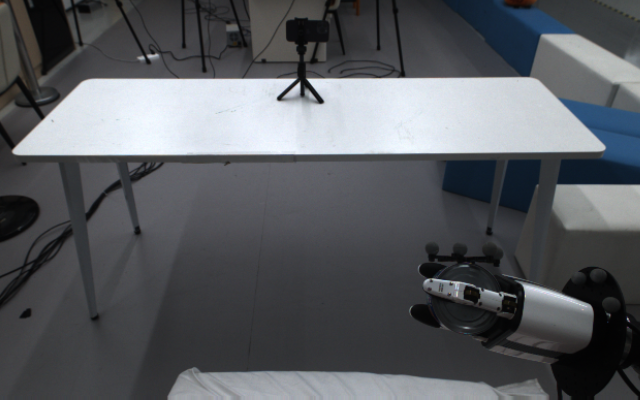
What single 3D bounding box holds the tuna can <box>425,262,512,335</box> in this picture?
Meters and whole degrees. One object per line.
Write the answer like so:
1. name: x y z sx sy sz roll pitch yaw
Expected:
1. tuna can: 0.178 0.118 0.591 0.085 0.034 0.085 0 74 1
